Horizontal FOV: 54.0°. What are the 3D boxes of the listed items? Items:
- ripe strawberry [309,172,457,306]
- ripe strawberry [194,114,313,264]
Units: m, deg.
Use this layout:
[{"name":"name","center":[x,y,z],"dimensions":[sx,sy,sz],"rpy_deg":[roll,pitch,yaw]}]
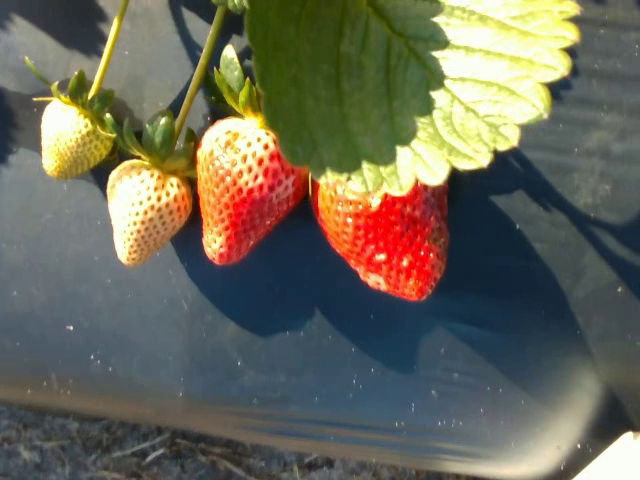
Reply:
[{"name":"ripe strawberry","center":[0.026,-0.006,0.214],"dimensions":[0.056,0.067,0.051],"rpy_deg":[-29,-16,34]},{"name":"ripe strawberry","center":[-0.027,-0.017,0.217],"dimensions":[0.050,0.061,0.043],"rpy_deg":[23,2,-21]}]
